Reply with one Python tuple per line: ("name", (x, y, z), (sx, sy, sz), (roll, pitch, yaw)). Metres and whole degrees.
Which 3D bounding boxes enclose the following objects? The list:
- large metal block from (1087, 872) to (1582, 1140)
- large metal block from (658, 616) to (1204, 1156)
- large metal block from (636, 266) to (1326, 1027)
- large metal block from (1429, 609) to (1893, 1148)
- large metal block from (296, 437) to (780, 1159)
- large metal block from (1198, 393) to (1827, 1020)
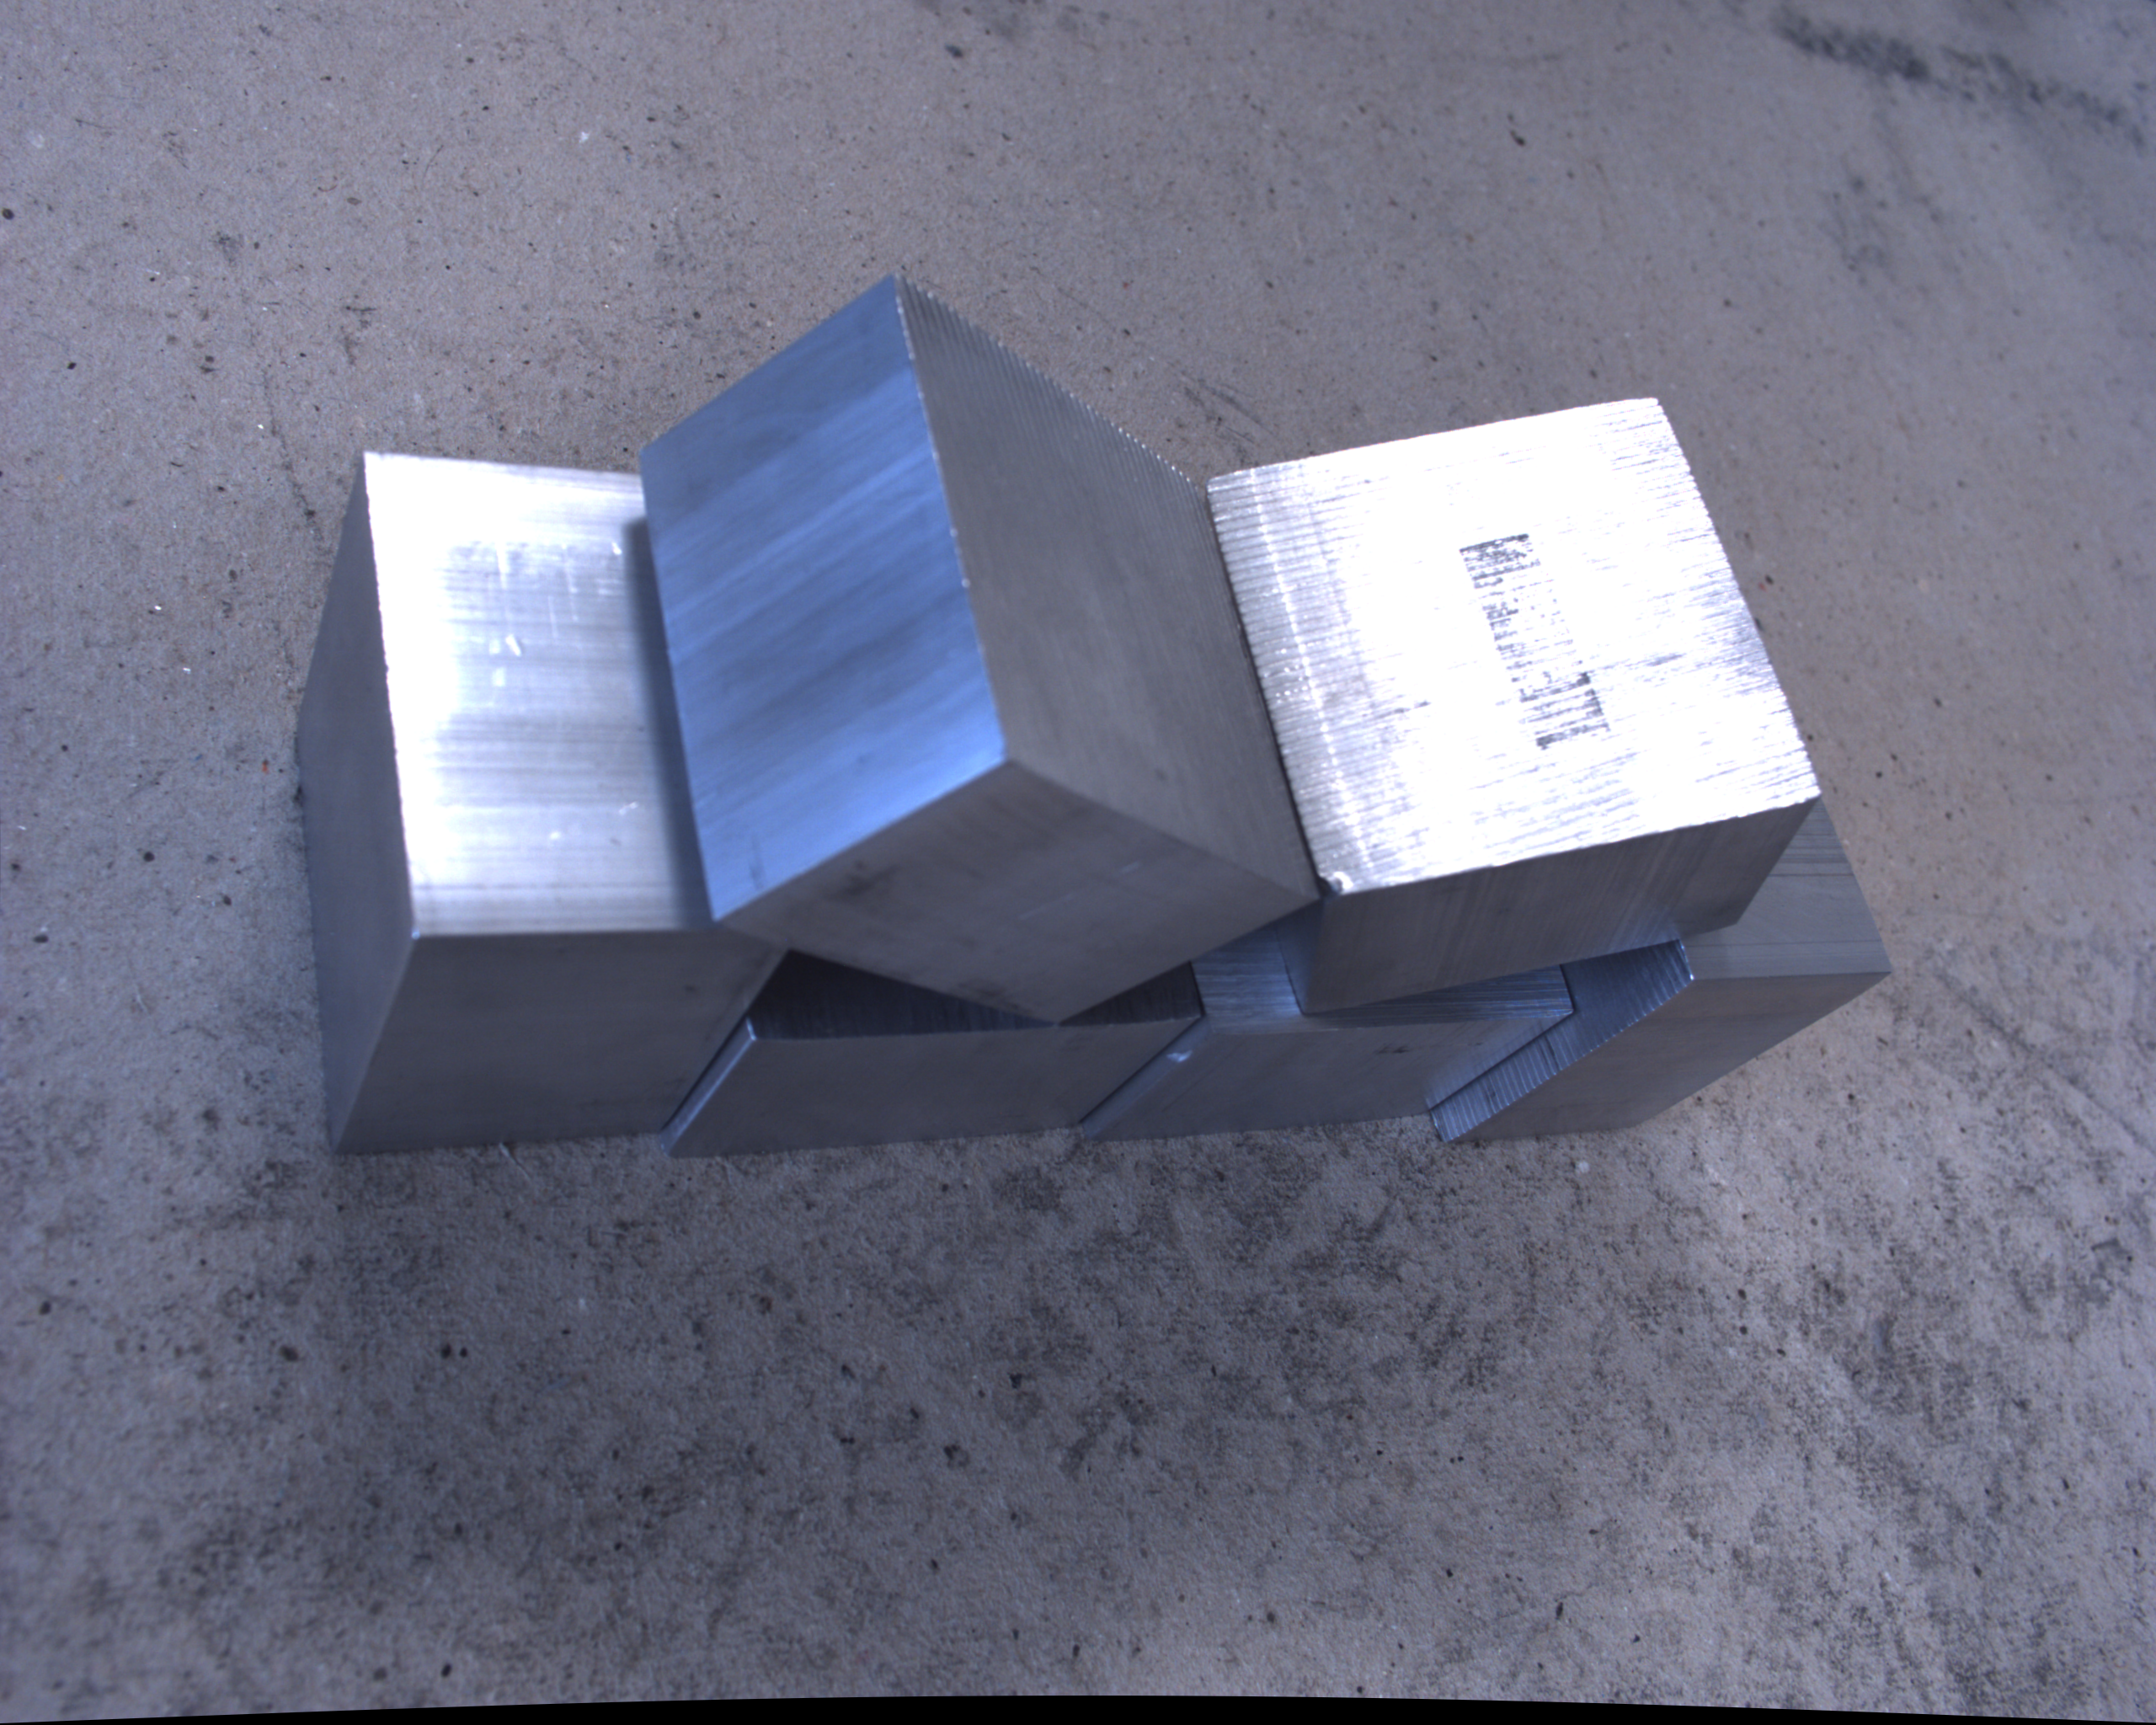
("large metal block", (0.039, 0.005, 0.406), (0.081, 0.050, 0.080), (0, 62, -28))
("large metal block", (-0.034, 0.003, 0.369), (0.081, 0.050, 0.080), (0, 62, -28))
("large metal block", (-0.014, -0.028, 0.314), (0.080, 0.050, 0.080), (22, 47, -52))
("large metal block", (0.104, 0.005, 0.424), (0.050, 0.080, 0.080), (0, 62, -29))
("large metal block", (-0.088, -0.008, 0.326), (0.050, 0.080, 0.080), (-1, 61, -28))
("large metal block", (0.069, -0.026, 0.358), (0.081, 0.050, 0.080), (-11, 65, -4))
